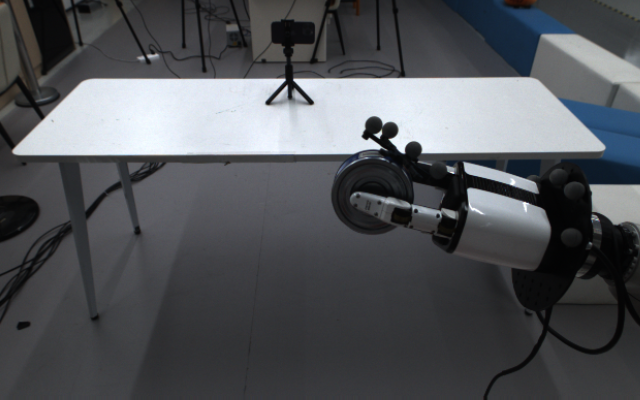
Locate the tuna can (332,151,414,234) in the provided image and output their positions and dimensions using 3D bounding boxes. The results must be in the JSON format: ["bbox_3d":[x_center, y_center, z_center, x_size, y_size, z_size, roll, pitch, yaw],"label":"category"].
[{"bbox_3d":[0.059,-0.002,0.505,0.085,0.085,0.034,6,19,6],"label":"tuna can"}]
